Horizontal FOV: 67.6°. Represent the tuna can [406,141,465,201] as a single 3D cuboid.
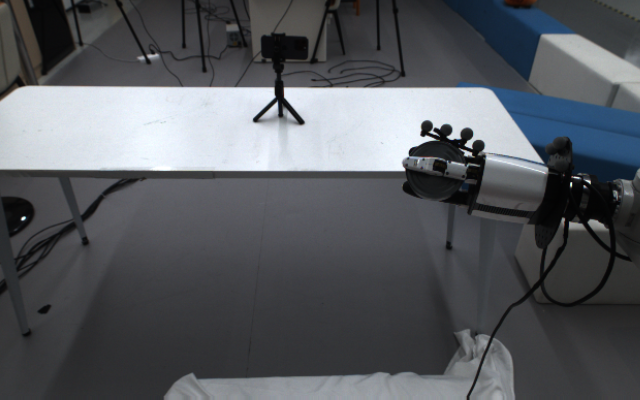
[{"bbox_3d":[0.171,-0.045,0.710,0.085,0.085,0.034,13,-6,16],"label":"tuna can"}]
